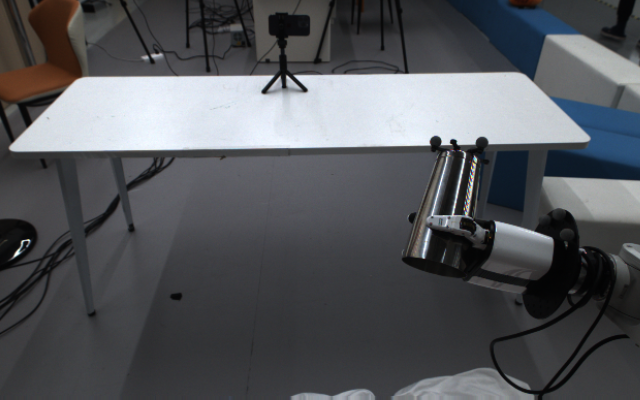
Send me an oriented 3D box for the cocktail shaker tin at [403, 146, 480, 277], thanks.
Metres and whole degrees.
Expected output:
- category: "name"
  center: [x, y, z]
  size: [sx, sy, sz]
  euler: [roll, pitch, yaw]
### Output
- category: "cocktail shaker tin"
  center: [0.184, 0.017, 0.704]
  size: [0.093, 0.093, 0.170]
  euler: [13, 74, 15]
